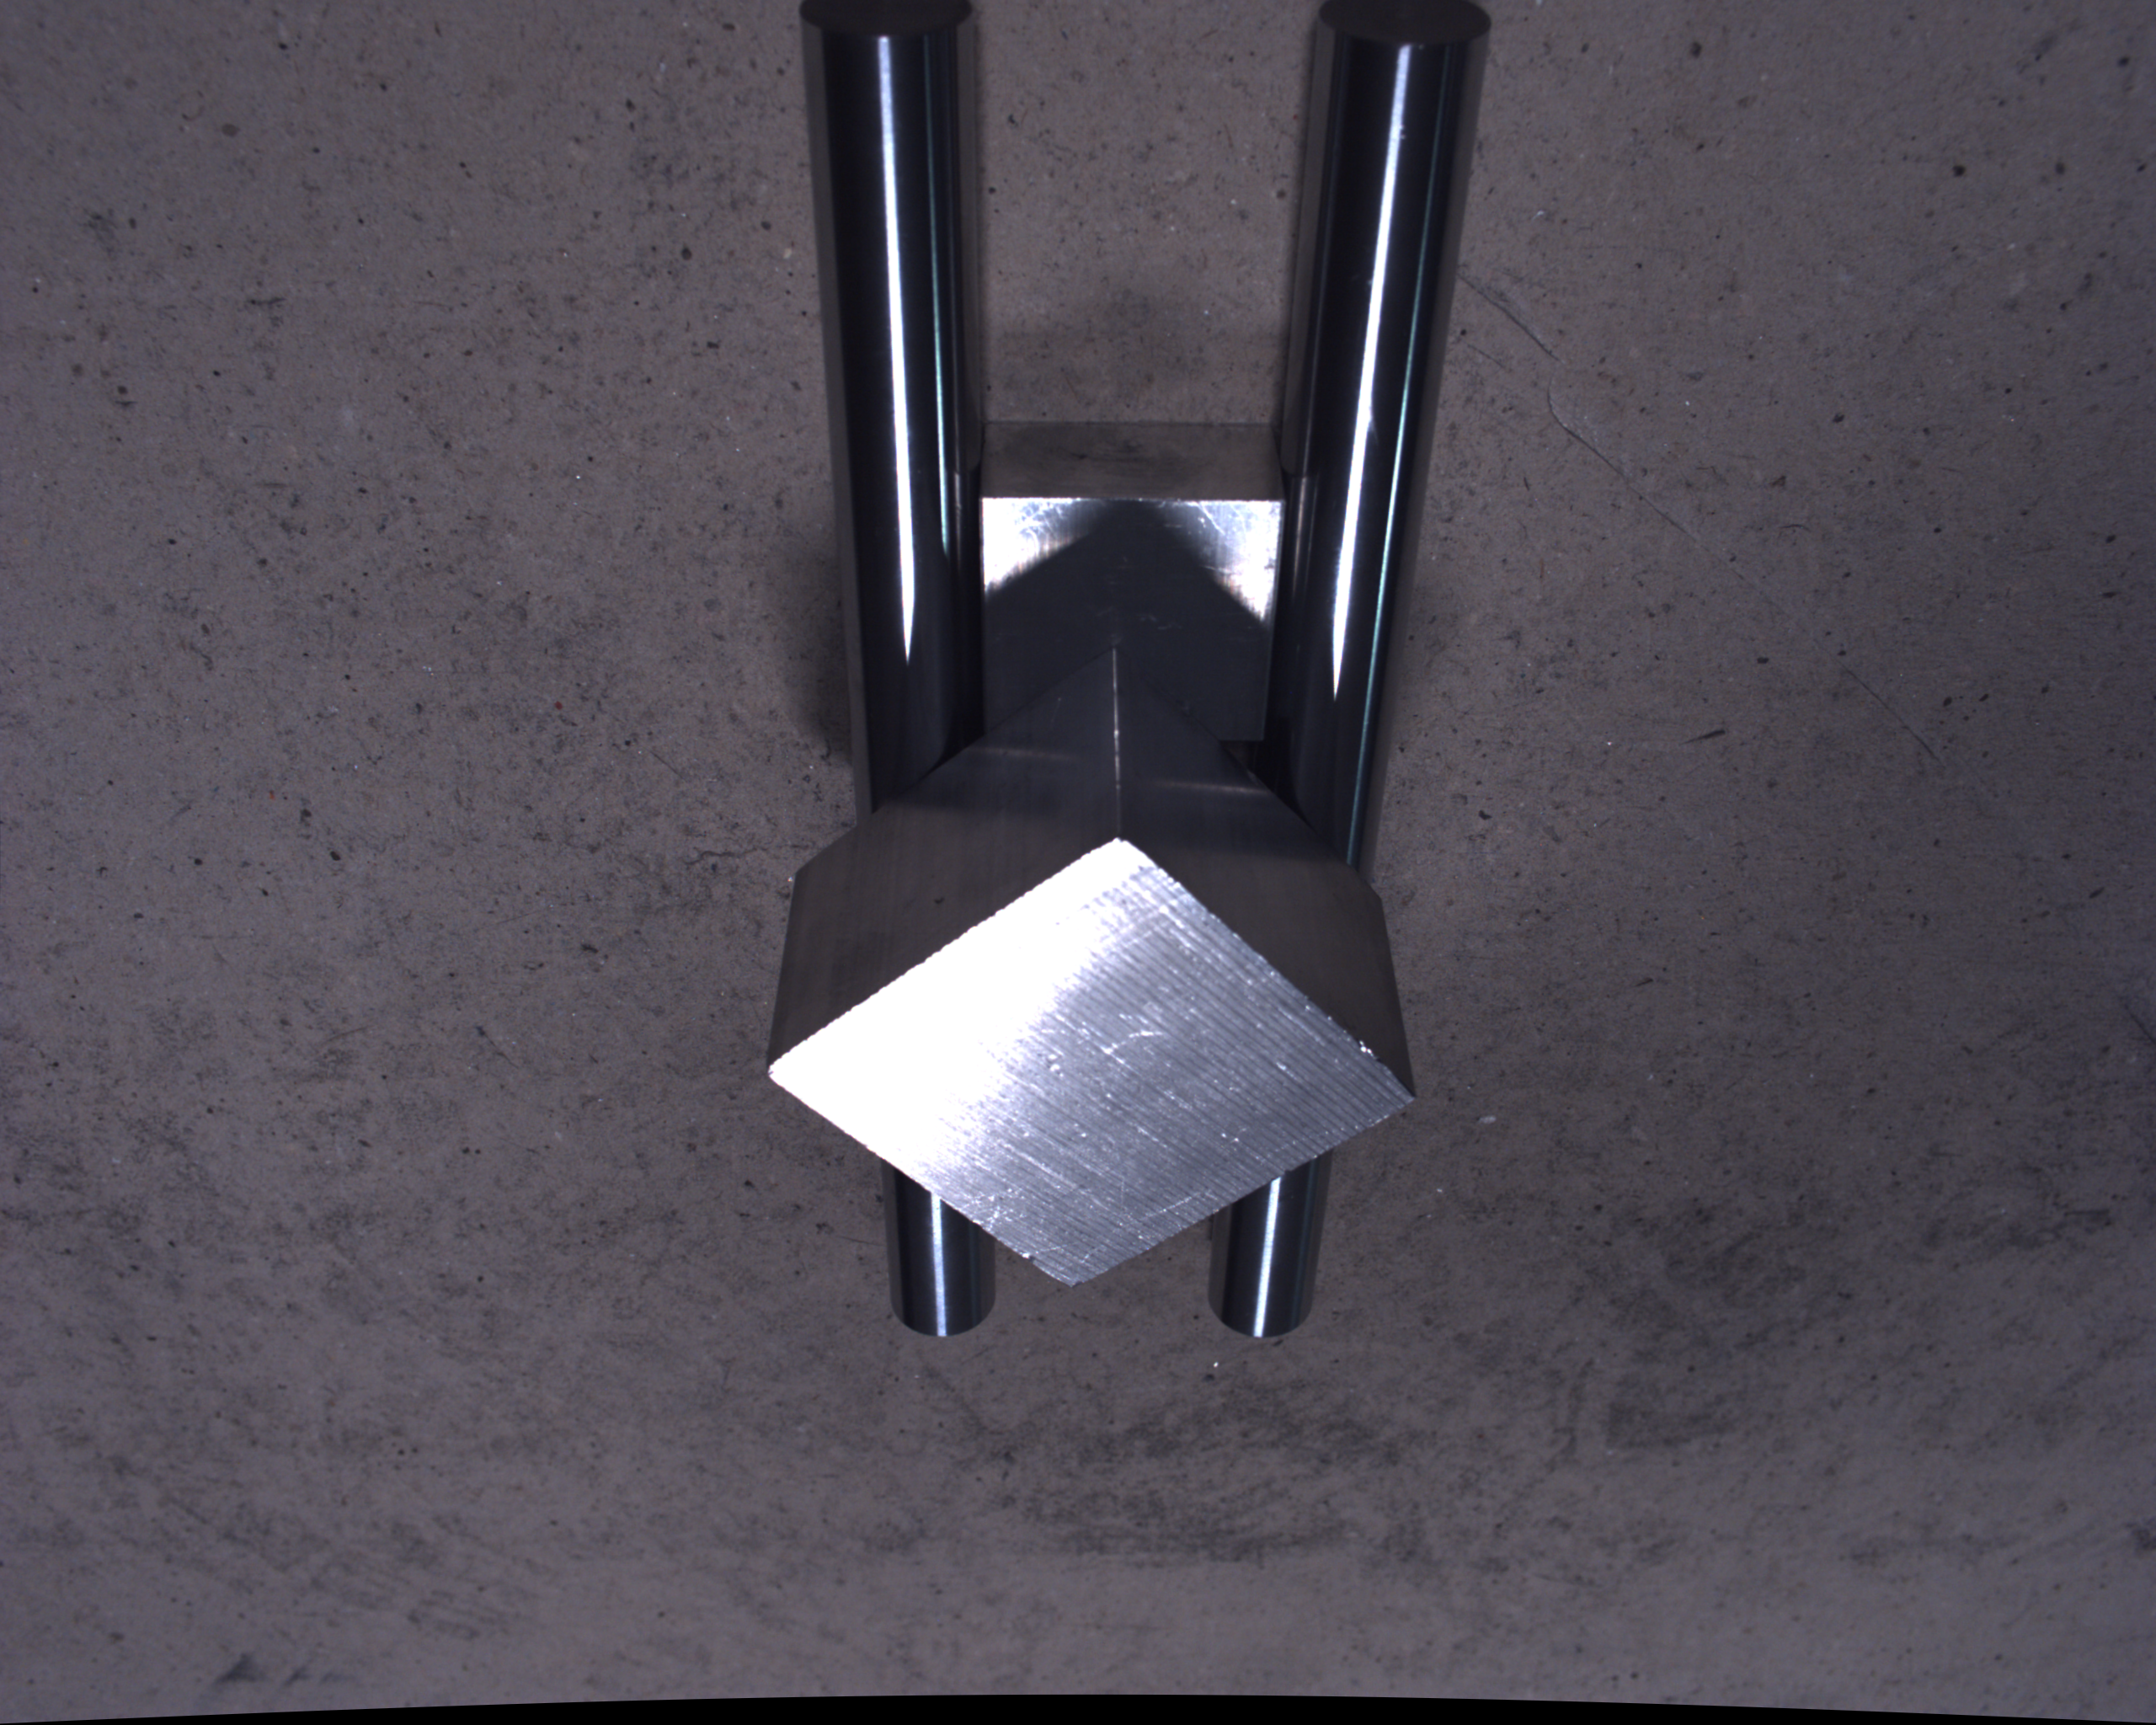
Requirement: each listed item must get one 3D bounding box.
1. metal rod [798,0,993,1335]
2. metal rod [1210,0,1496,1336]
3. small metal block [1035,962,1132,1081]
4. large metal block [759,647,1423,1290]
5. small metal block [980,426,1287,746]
[{"bbox_3d":[-0.030,-0.011,0.400,0.025,0.025,0.298,0,130,-1],"label":"metal rod"},{"bbox_3d":[0.046,-0.011,0.401,0.025,0.025,0.298,0,130,-1],"label":"metal rod"},{"bbox_3d":[0.007,0.040,0.441,0.050,0.025,0.050,0,130,-1],"label":"small metal block"},{"bbox_3d":[0.003,0.022,0.375,0.080,0.050,0.080,-33,123,25],"label":"large metal block"},{"bbox_3d":[0.009,-0.048,0.366,0.050,0.025,0.050,0,130,-1],"label":"small metal block"}]
